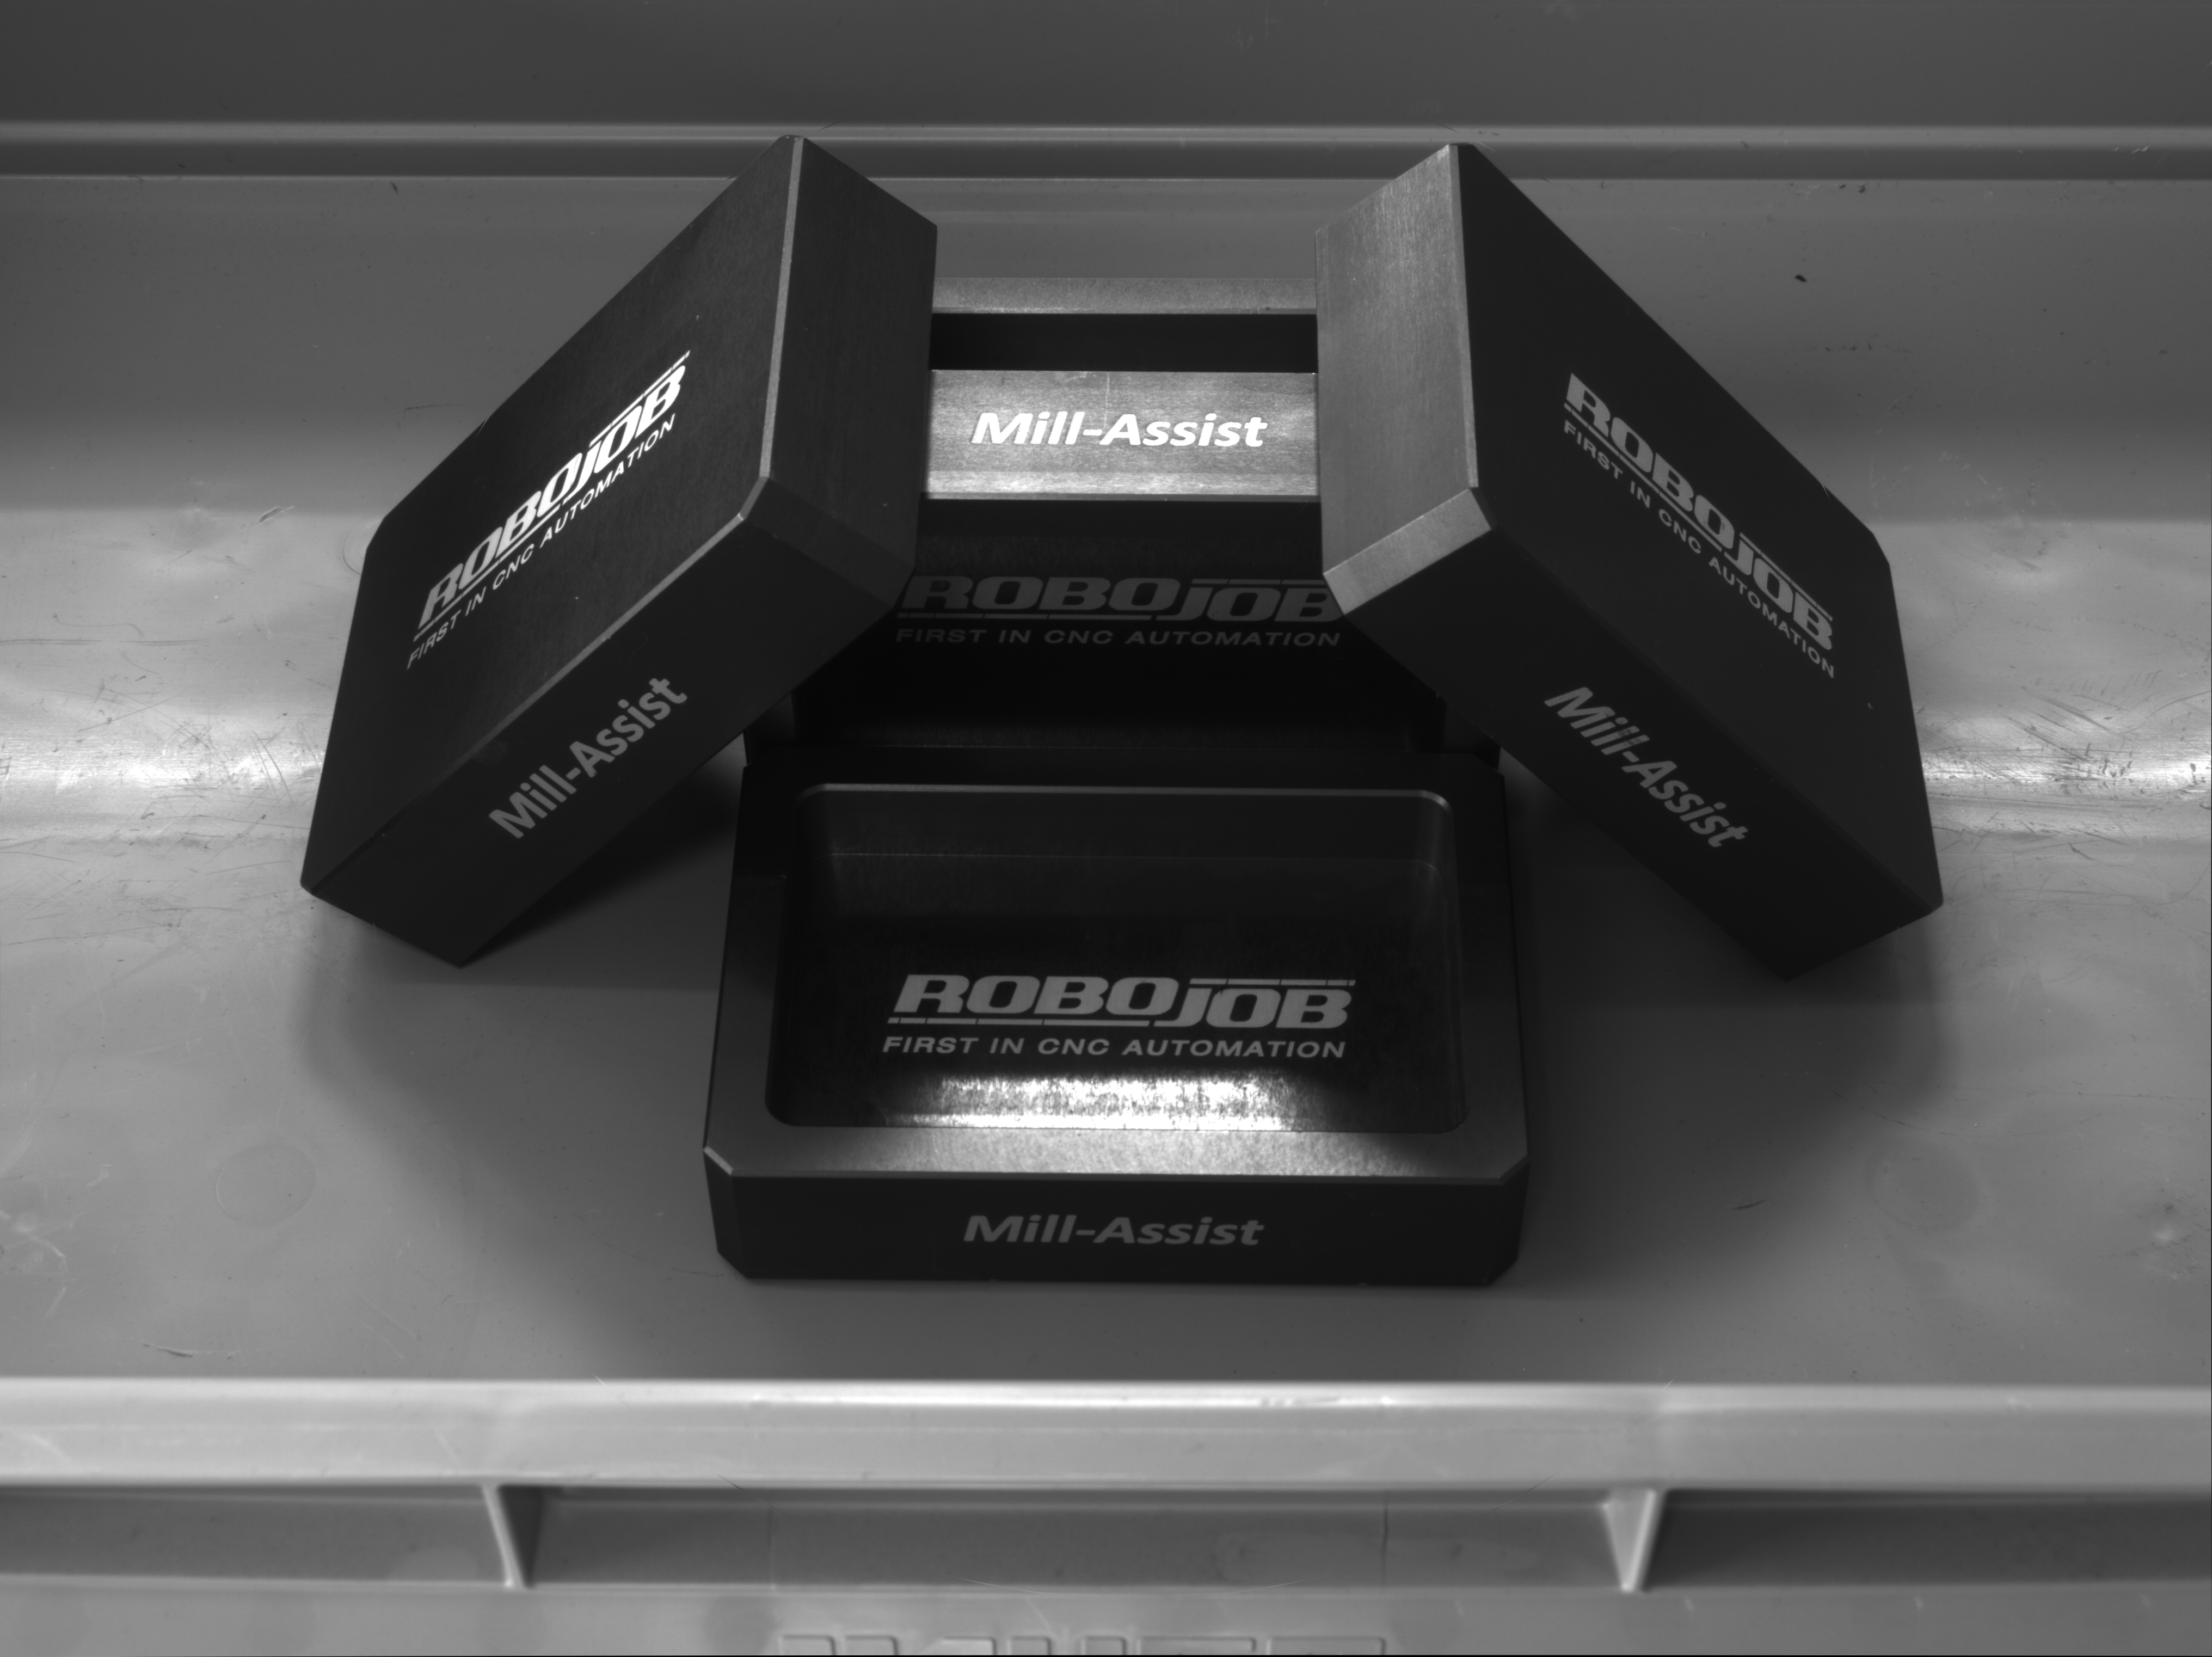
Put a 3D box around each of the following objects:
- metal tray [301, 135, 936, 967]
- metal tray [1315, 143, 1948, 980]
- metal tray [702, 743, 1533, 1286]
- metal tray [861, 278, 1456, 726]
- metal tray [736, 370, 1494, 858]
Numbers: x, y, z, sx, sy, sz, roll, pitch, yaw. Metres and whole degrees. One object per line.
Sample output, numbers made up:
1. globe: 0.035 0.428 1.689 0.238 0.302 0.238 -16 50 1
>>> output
1. metal tray: -0.083 -0.045 0.619 0.030 0.130 0.090 30 41 -30
2. metal tray: 0.089 -0.044 0.617 0.030 0.130 0.090 -30 41 32
3. metal tray: 0.002 0.030 0.610 0.130 0.030 0.090 1 50 0
4. metal tray: 0.006 -0.062 0.689 0.130 0.030 0.090 0 50 -1
5. metal tray: 0.002 -0.035 0.627 0.130 0.090 0.030 1 50 0
